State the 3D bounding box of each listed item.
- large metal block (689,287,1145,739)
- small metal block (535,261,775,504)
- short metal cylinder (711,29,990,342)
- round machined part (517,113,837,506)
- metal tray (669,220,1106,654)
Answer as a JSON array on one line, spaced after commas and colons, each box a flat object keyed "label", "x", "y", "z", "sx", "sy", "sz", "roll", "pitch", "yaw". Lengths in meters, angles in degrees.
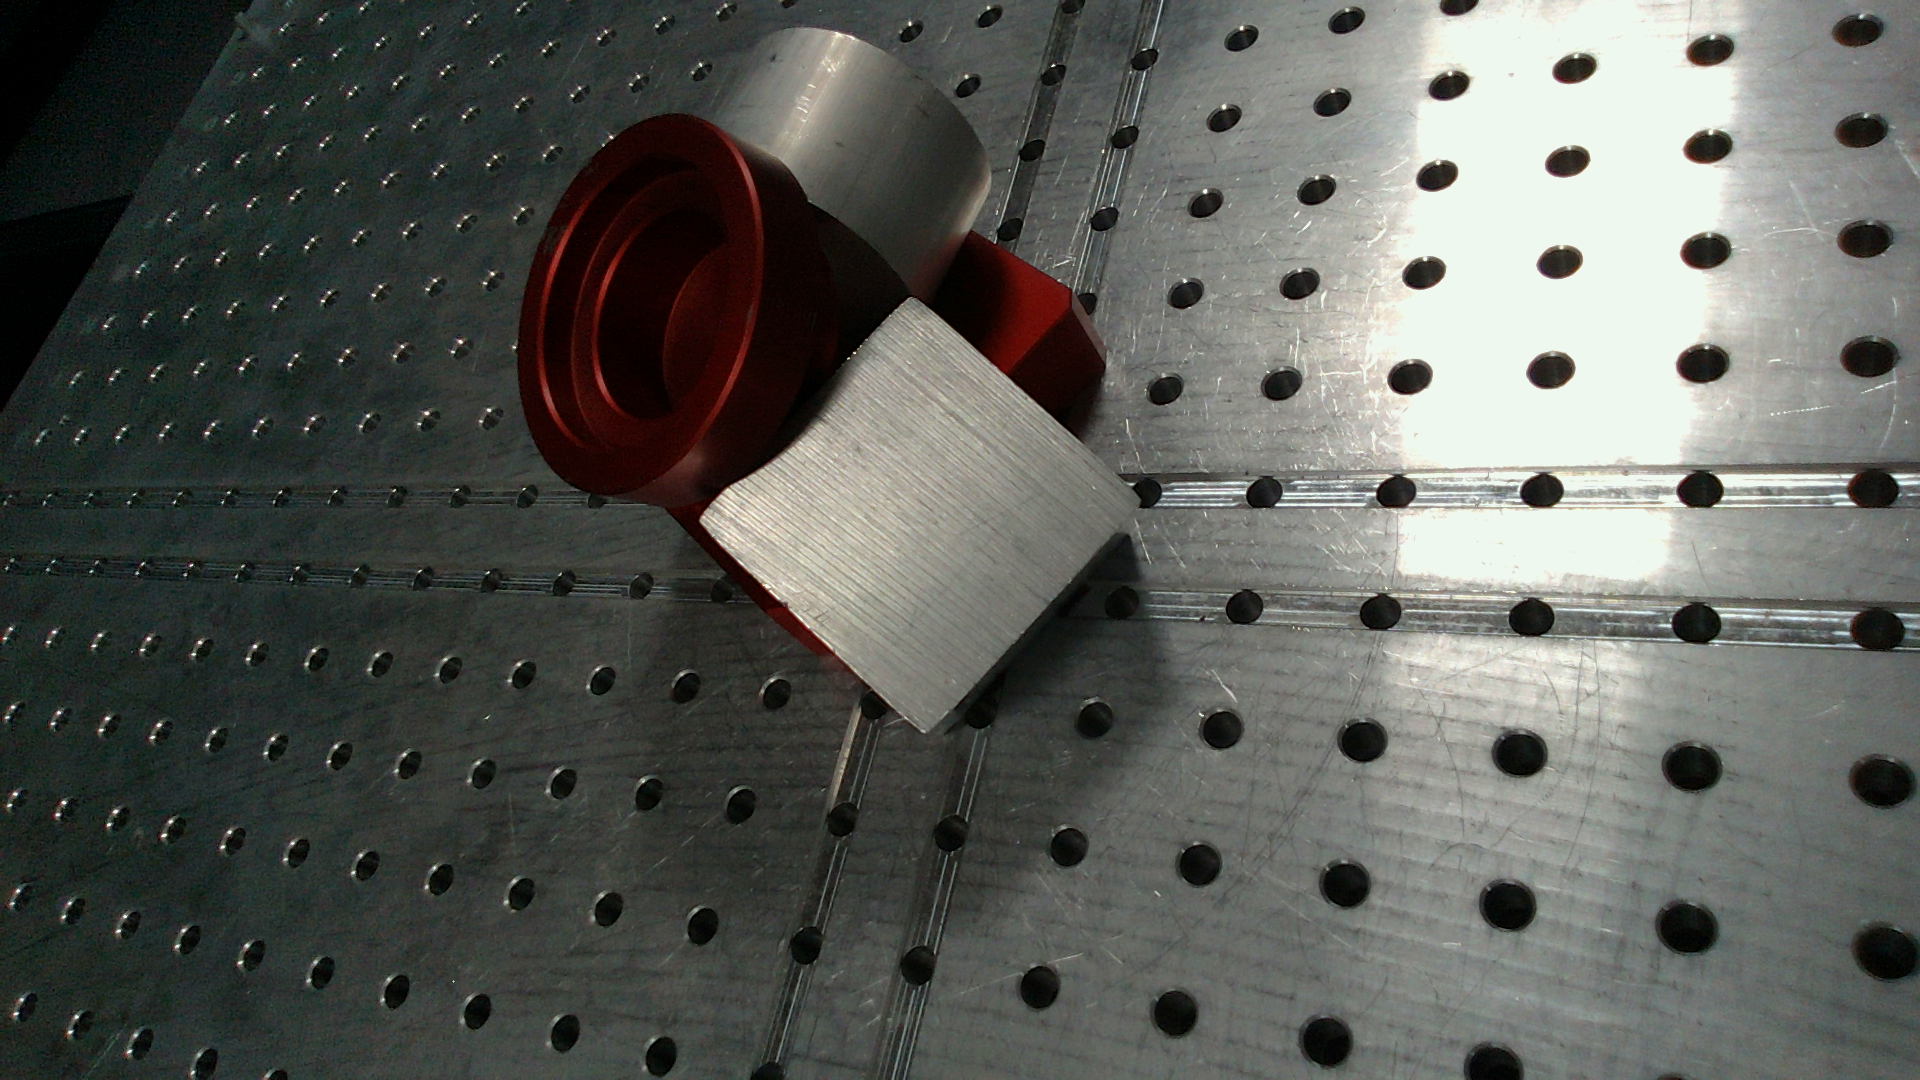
[{"label": "large metal block", "x": -0.010, "y": -0.004, "z": 0.365, "sx": 0.080, "sy": 0.050, "sz": 0.080, "roll": 42, "pitch": 85, "yaw": 8}, {"label": "small metal block", "x": -0.091, "y": -0.047, "z": 0.419, "sx": 0.025, "sy": 0.050, "sz": 0.050, "roll": 21, "pitch": 73, "yaw": 36}, {"label": "short metal cylinder", "x": -0.038, "y": -0.101, "z": 0.405, "sx": 0.080, "sy": 0.080, "sz": 0.050, "roll": 14, "pitch": 69, "yaw": 34}, {"label": "round machined part", "x": -0.071, "y": -0.057, "z": 0.363, "sx": 0.098, "sy": 0.042, "sz": 0.098, "roll": -9, "pitch": 76, "yaw": 39}, {"label": "metal tray", "x": -0.029, "y": -0.039, "z": 0.435, "sx": 0.130, "sy": 0.030, "sz": 0.090, "roll": -47, "pitch": 51, "yaw": -5}]
